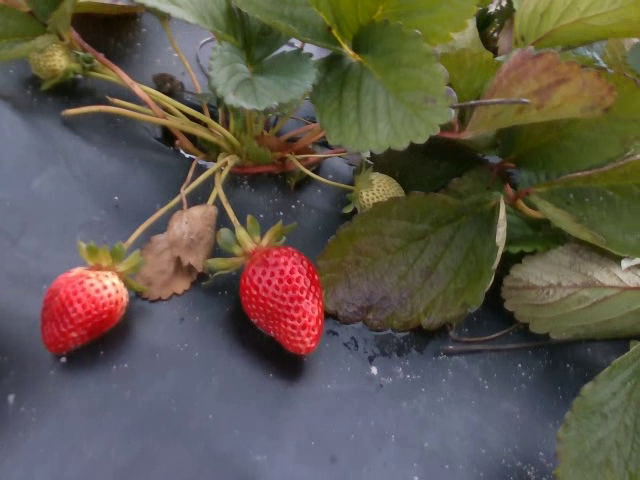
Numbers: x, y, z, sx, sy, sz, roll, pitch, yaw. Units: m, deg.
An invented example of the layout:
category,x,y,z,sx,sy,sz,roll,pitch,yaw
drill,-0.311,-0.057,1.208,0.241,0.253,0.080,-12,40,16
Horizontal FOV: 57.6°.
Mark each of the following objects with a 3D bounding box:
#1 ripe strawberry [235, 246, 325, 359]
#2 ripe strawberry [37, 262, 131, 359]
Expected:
category,x,y,z,sx,sy,sz,roll,pitch,yaw
ripe strawberry,-0.015,0.024,0.238,0.044,0.059,0.042,-30,-22,9
ripe strawberry,-0.094,0.026,0.223,0.036,0.040,0.028,17,-19,8
